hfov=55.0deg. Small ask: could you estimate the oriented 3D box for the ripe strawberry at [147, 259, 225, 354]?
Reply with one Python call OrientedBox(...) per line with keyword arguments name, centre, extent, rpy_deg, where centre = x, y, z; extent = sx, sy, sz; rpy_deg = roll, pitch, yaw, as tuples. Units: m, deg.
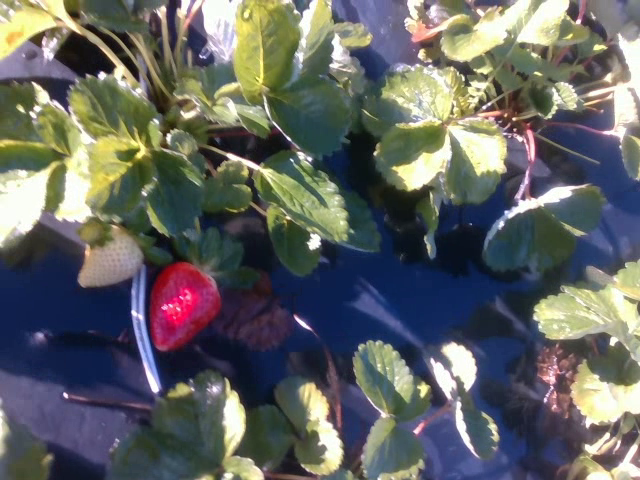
OrientedBox(name="ripe strawberry", centre=(-0.093, 0.047, 0.422), extent=(0.040, 0.080, 0.063), rpy_deg=(-5, -45, 34))
